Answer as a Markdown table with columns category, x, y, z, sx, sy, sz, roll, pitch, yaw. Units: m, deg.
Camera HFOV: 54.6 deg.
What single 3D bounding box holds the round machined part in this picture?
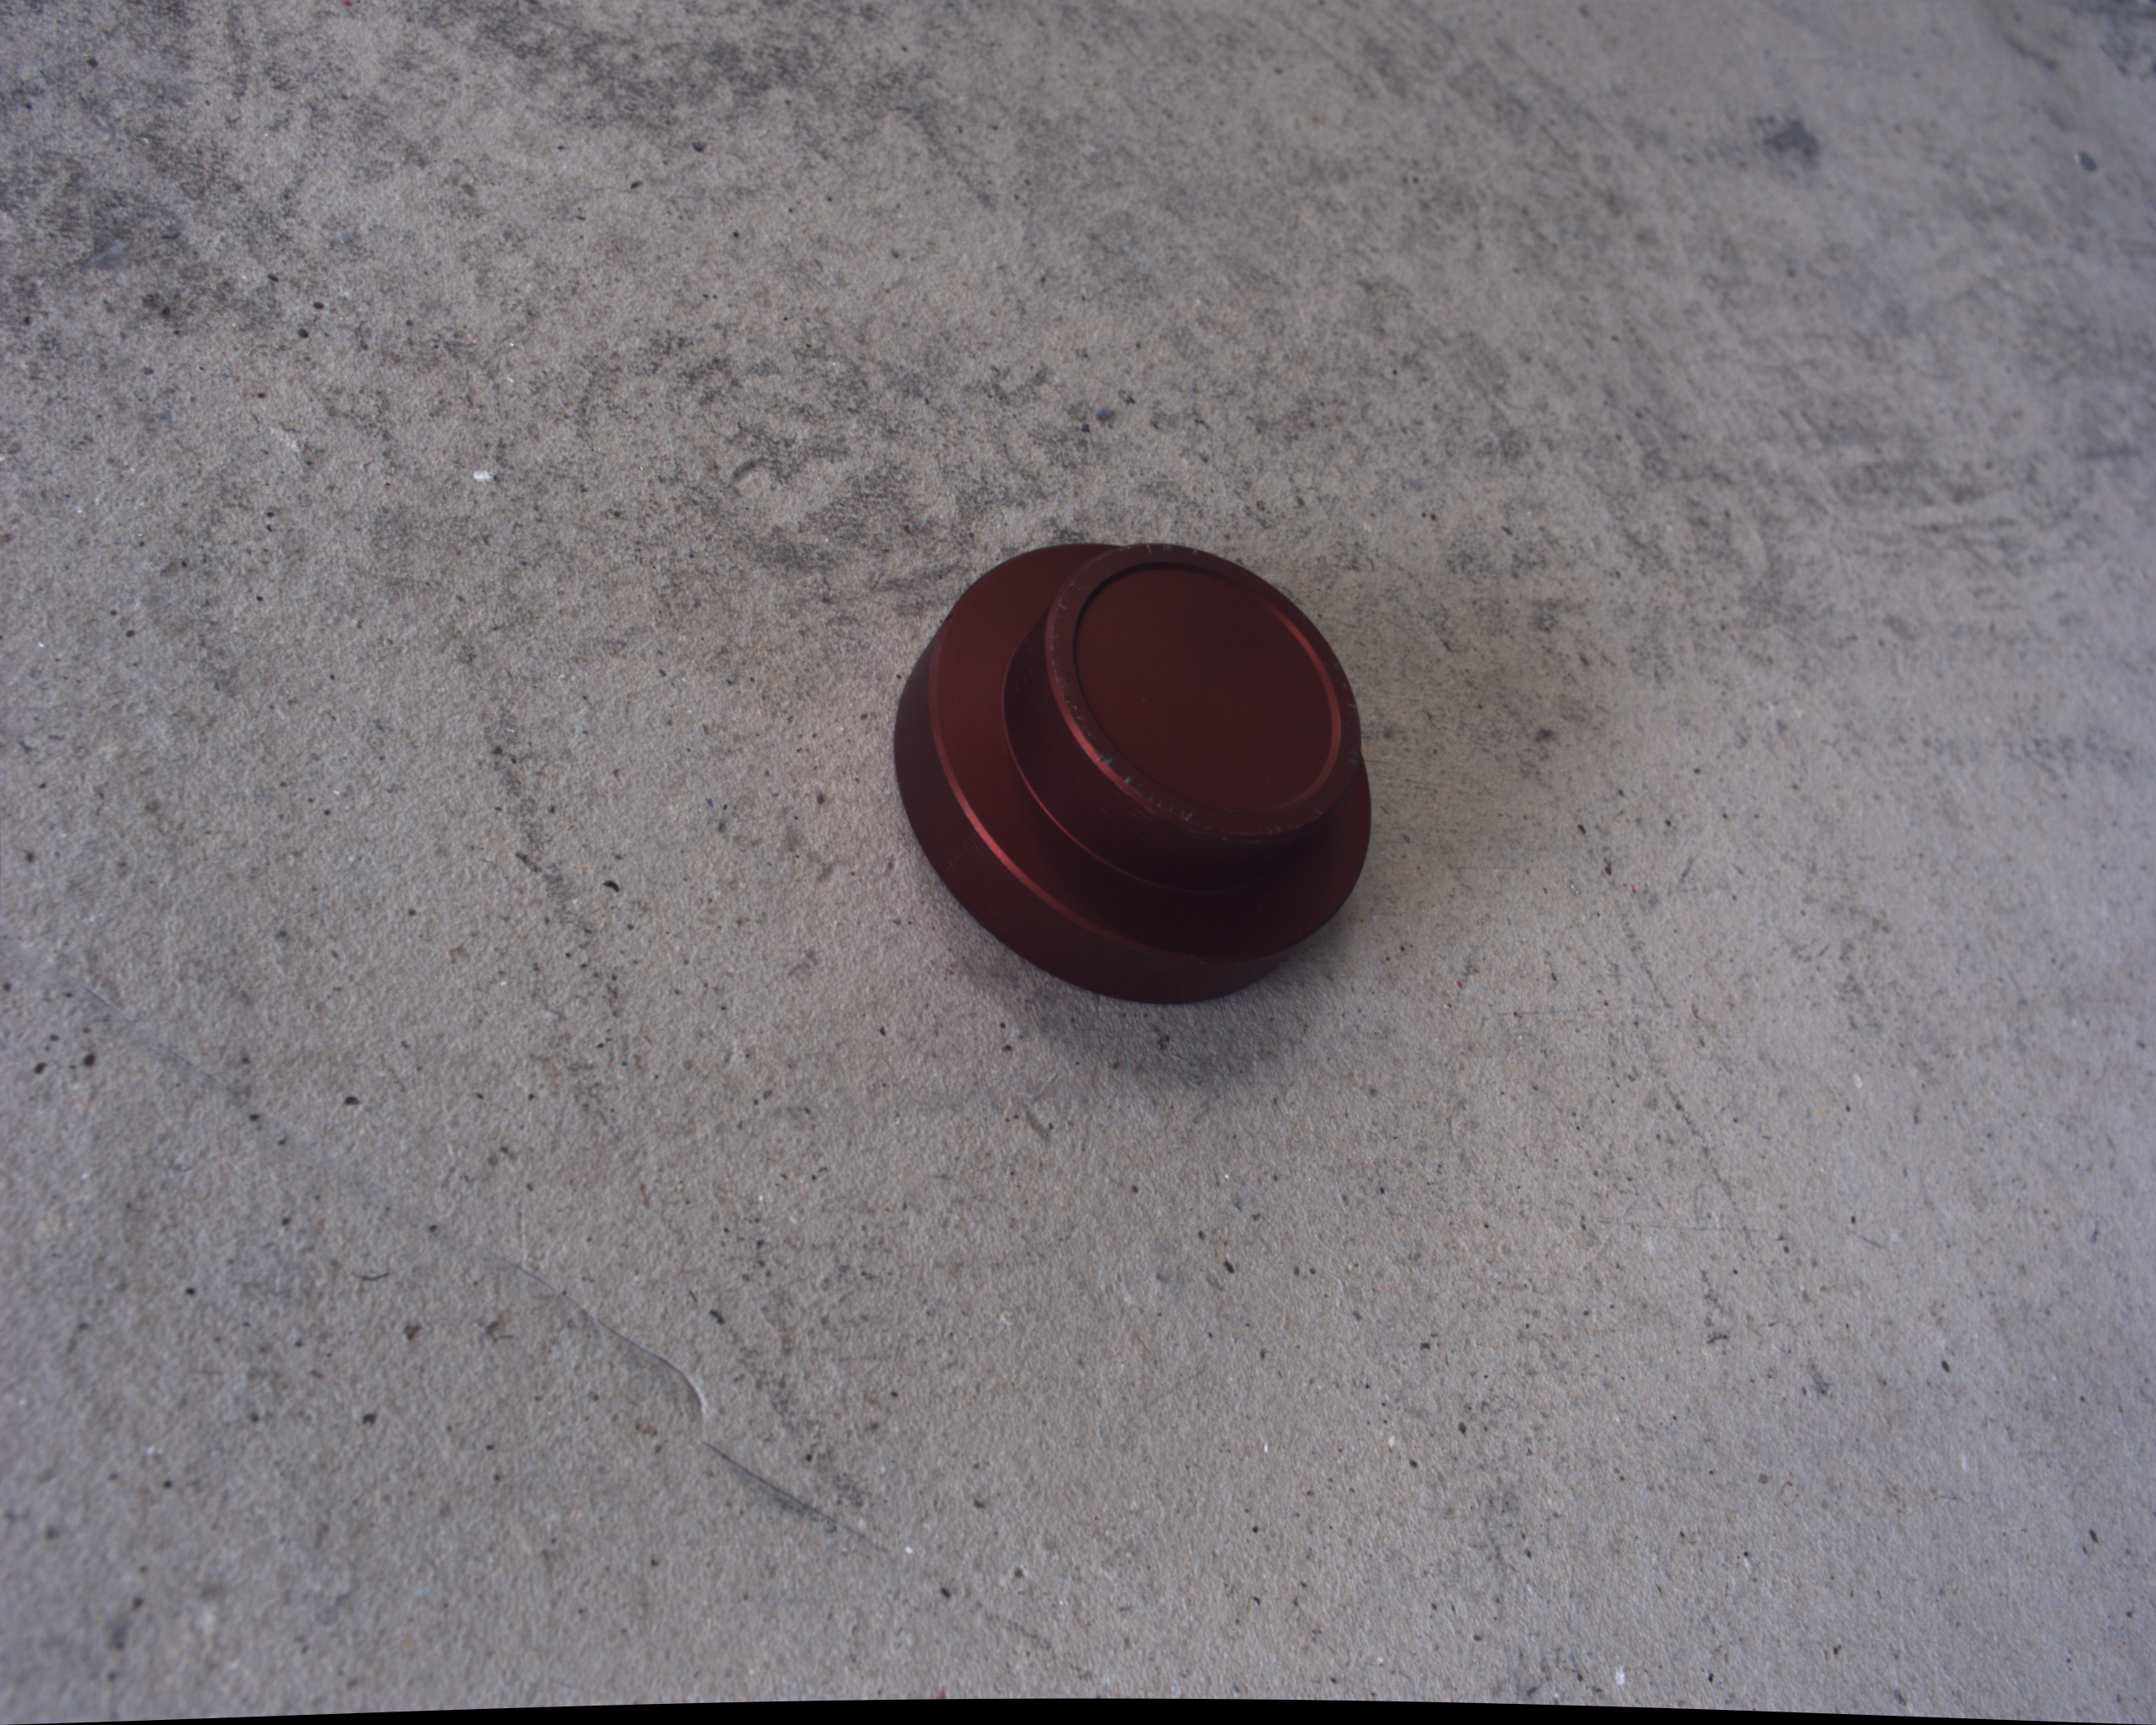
| category | x | y | z | sx | sy | sz | roll | pitch | yaw |
| --- | --- | --- | --- | --- | --- | --- | --- | --- | --- |
| round machined part | 0.017 | -0.024 | 0.418 | 0.099 | 0.042 | 0.098 | 13 | 56 | -21 |
